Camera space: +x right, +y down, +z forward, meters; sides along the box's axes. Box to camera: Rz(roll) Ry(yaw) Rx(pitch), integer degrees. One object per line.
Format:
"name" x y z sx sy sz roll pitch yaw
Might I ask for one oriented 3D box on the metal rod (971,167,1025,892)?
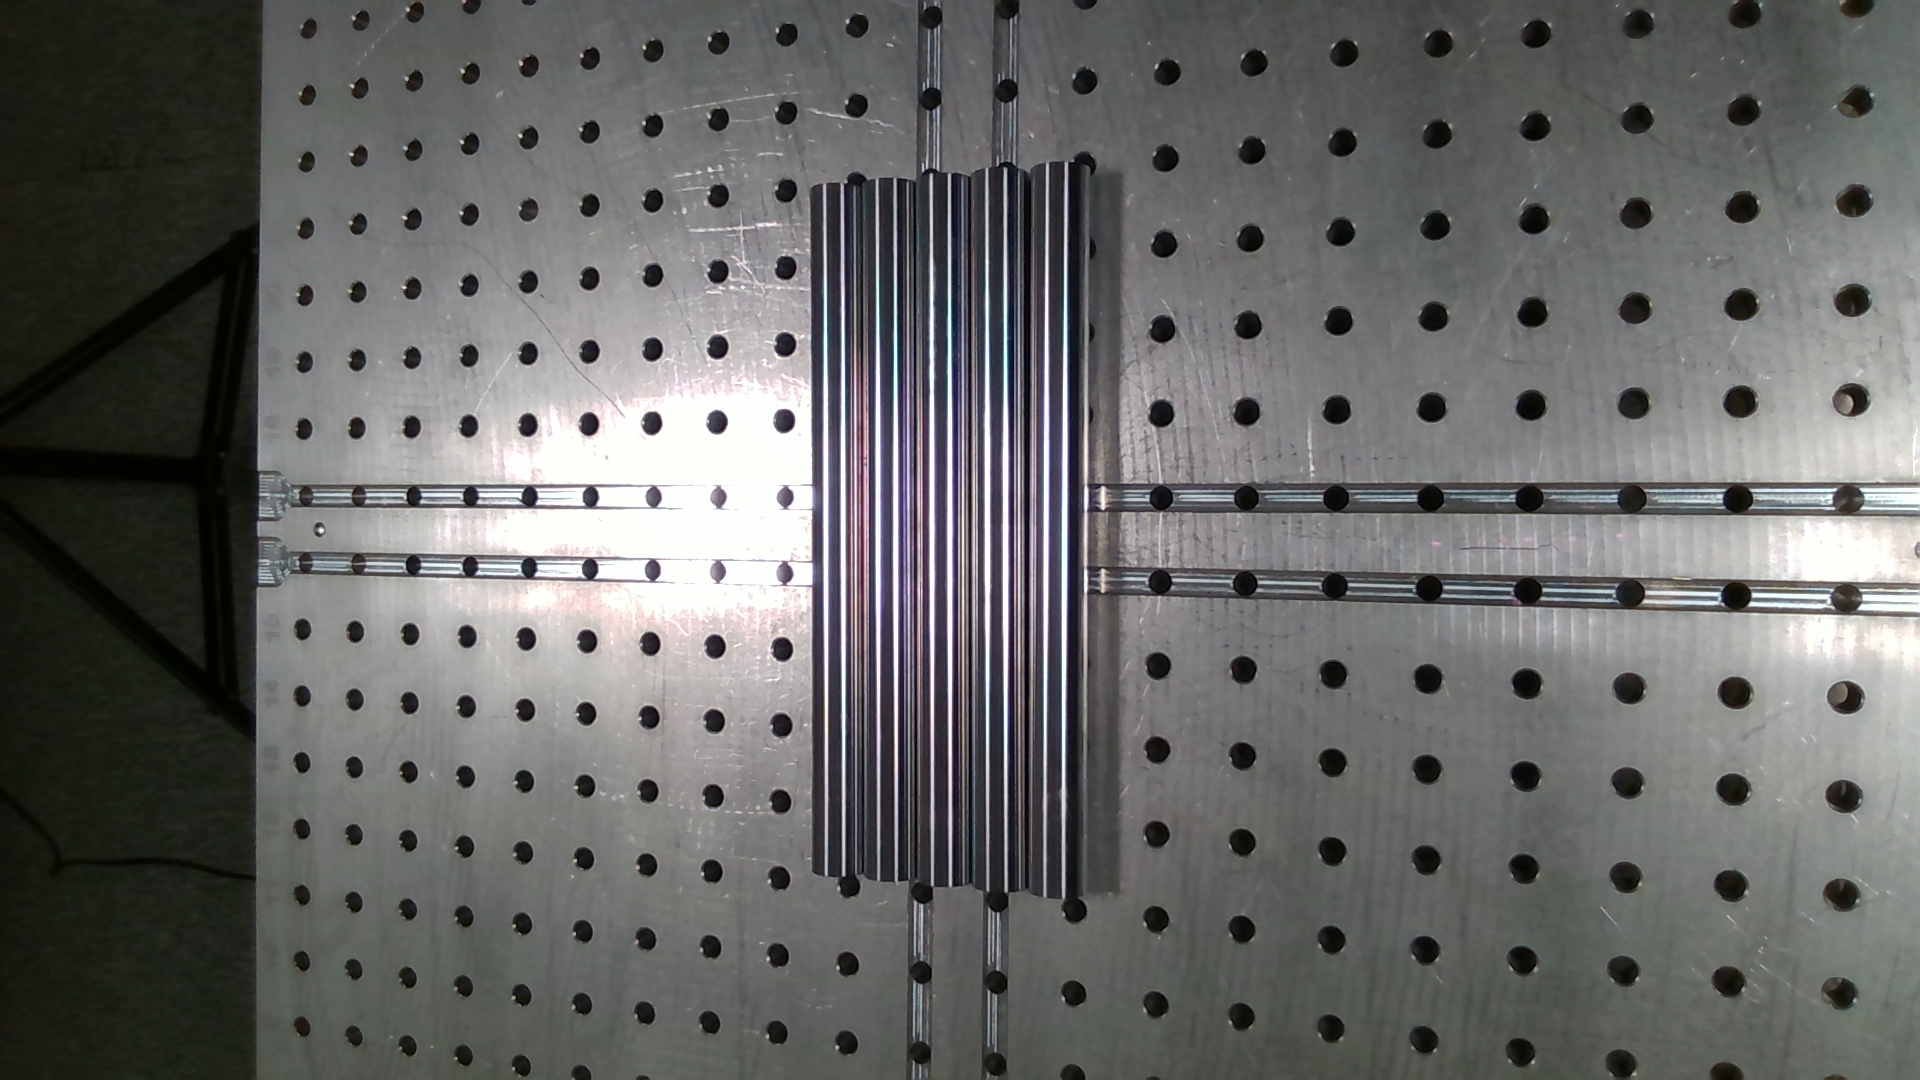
"metal rod" 0.017 -0.004 0.582 0.025 0.025 0.300 0 91 20

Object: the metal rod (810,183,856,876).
"metal rod" -0.053 -0.004 0.607 0.025 0.025 0.300 0 91 20

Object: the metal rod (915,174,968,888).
"metal rod" -0.007 -0.004 0.590 0.025 0.025 0.300 0 91 20

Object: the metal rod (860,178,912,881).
"metal rod" -0.031 -0.004 0.599 0.025 0.025 0.300 0 91 20

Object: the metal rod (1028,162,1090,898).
"metal rod" 0.041 -0.004 0.573 0.025 0.025 0.300 0 91 20
